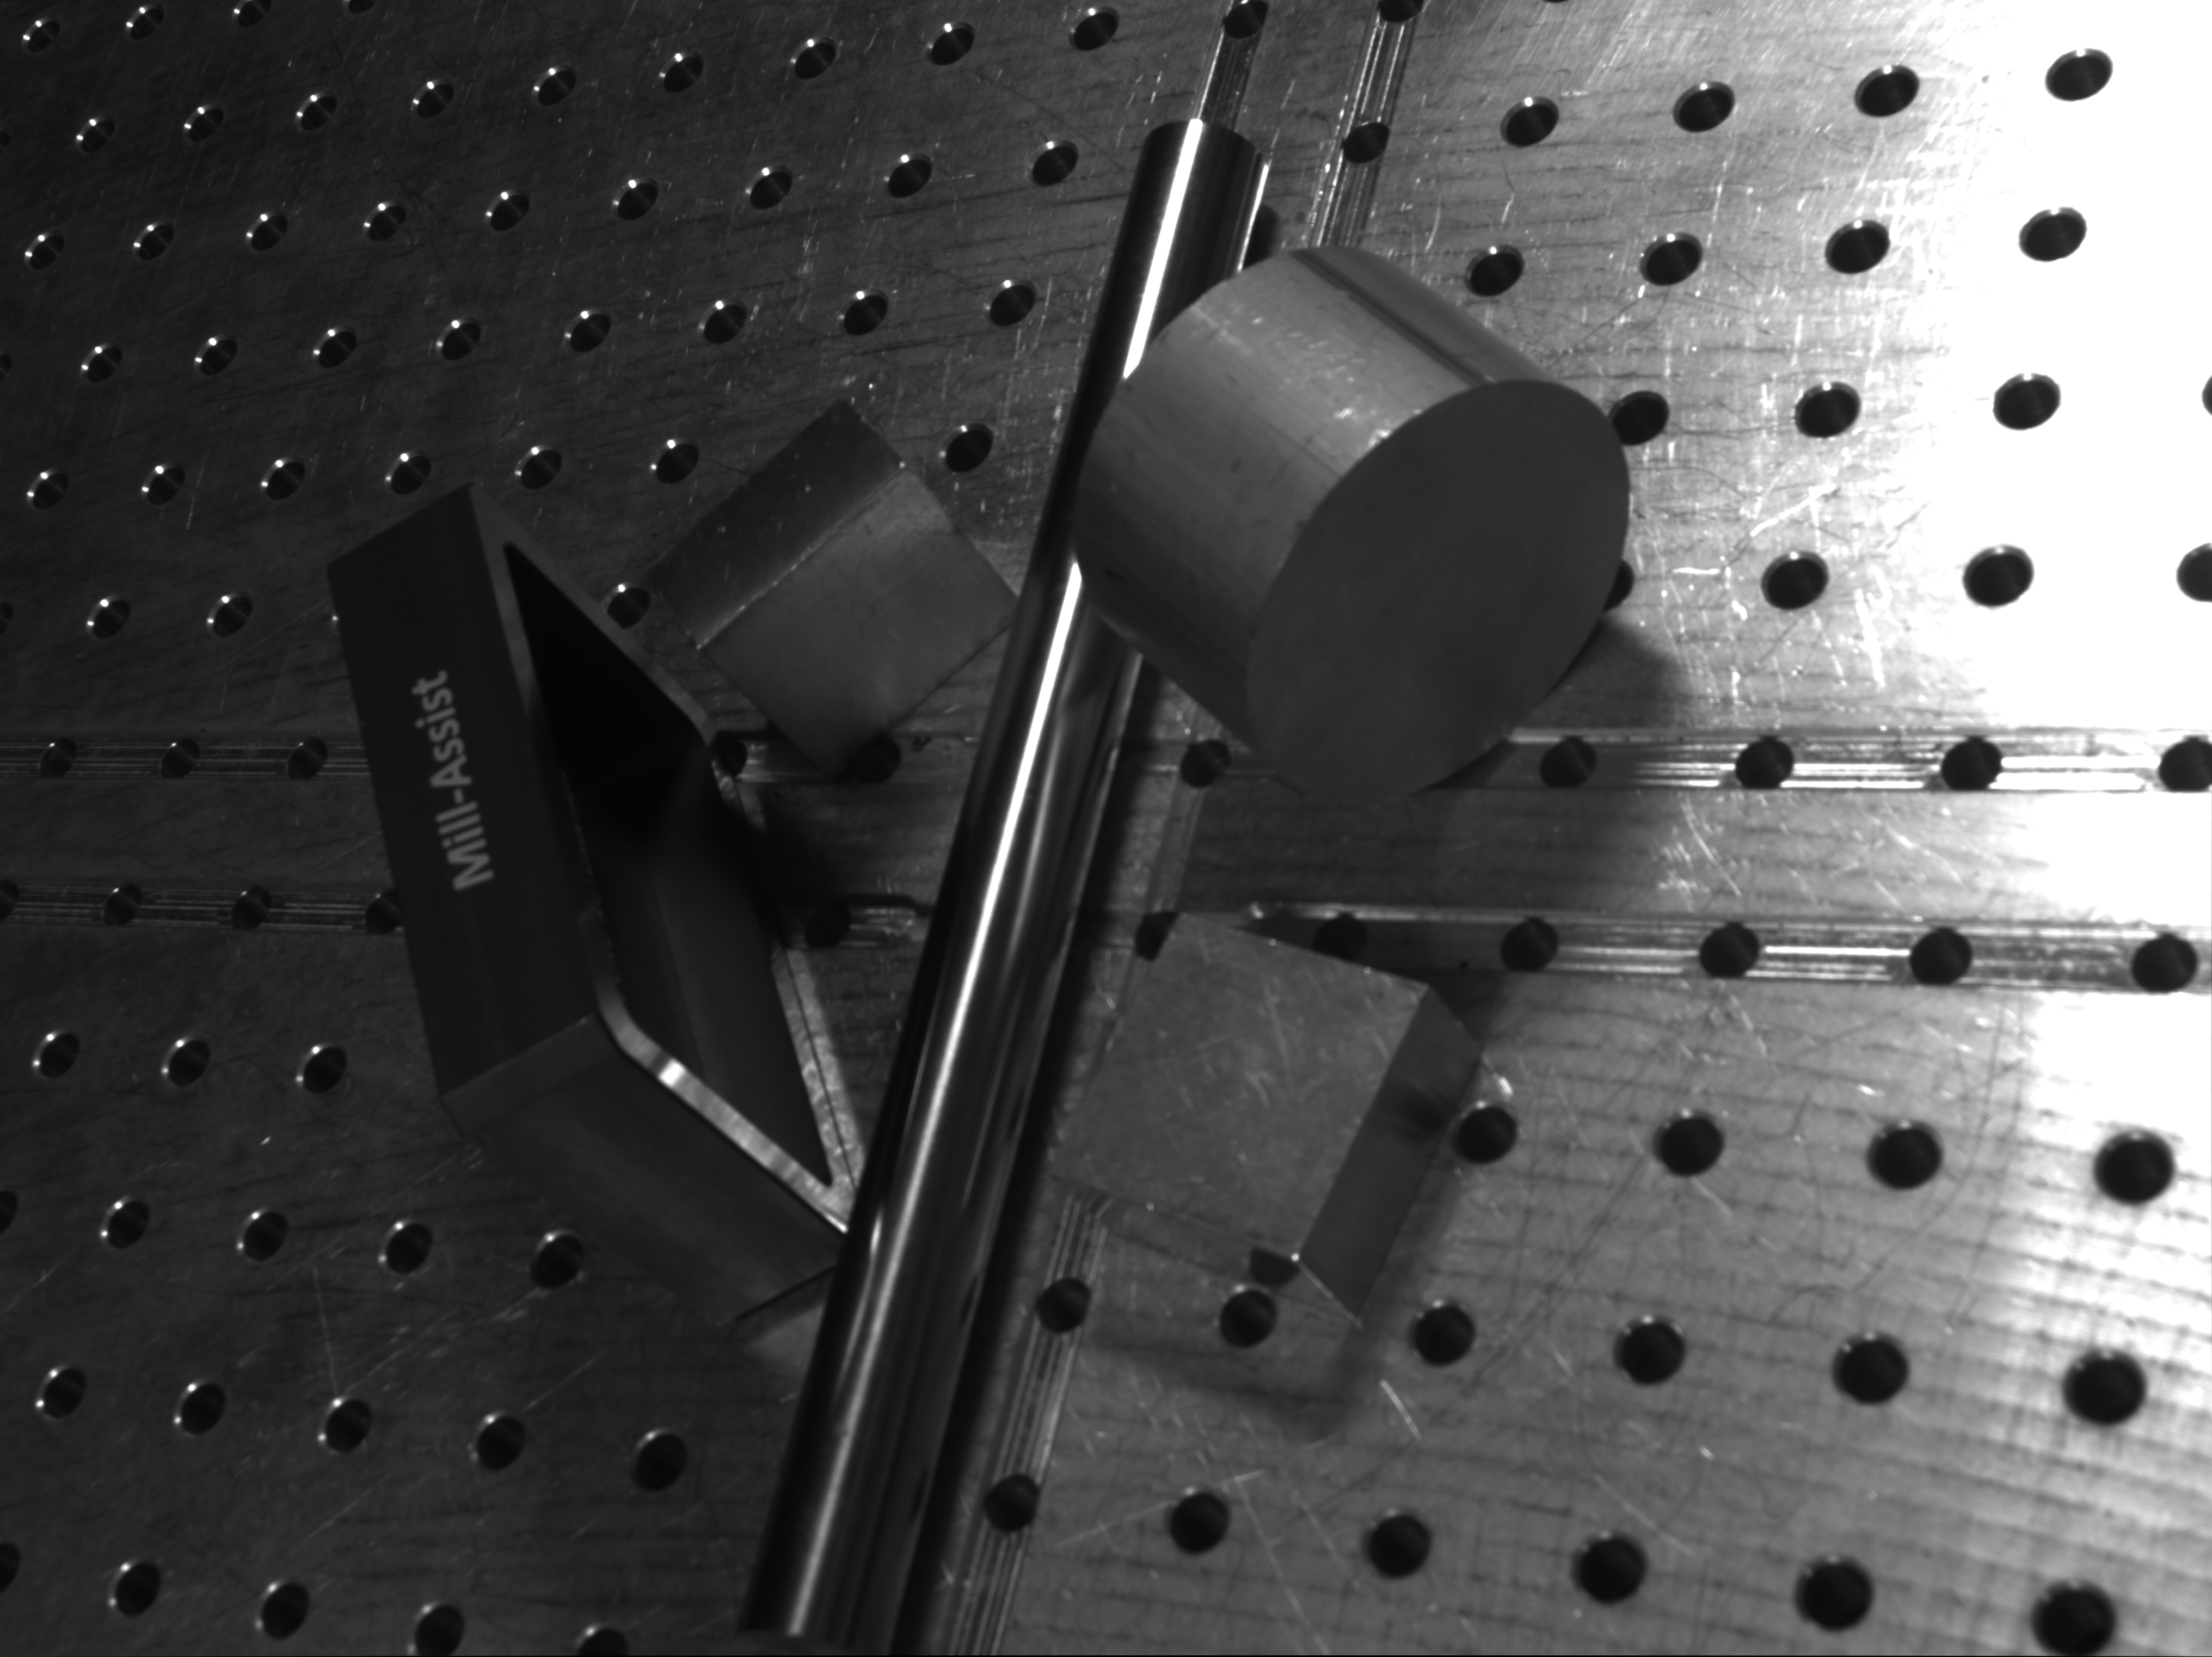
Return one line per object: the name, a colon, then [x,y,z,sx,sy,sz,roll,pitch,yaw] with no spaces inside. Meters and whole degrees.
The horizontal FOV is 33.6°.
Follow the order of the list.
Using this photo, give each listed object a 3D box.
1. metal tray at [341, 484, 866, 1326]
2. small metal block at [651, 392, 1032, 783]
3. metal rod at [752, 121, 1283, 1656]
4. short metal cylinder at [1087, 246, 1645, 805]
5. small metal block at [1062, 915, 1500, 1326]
metal tray: [-0.087,0.013,0.644,0.030,0.090,0.130,-29,52,10]
small metal block: [-0.048,-0.044,0.683,0.050,0.050,0.025,-41,51,0]
metal rod: [-0.011,0.001,0.652,0.025,0.025,0.300,0,61,28]
short metal cylinder: [0.044,-0.051,0.619,0.080,0.080,0.050,-44,51,-3]
small metal block: [0.029,0.047,0.603,0.050,0.025,0.050,16,70,35]
